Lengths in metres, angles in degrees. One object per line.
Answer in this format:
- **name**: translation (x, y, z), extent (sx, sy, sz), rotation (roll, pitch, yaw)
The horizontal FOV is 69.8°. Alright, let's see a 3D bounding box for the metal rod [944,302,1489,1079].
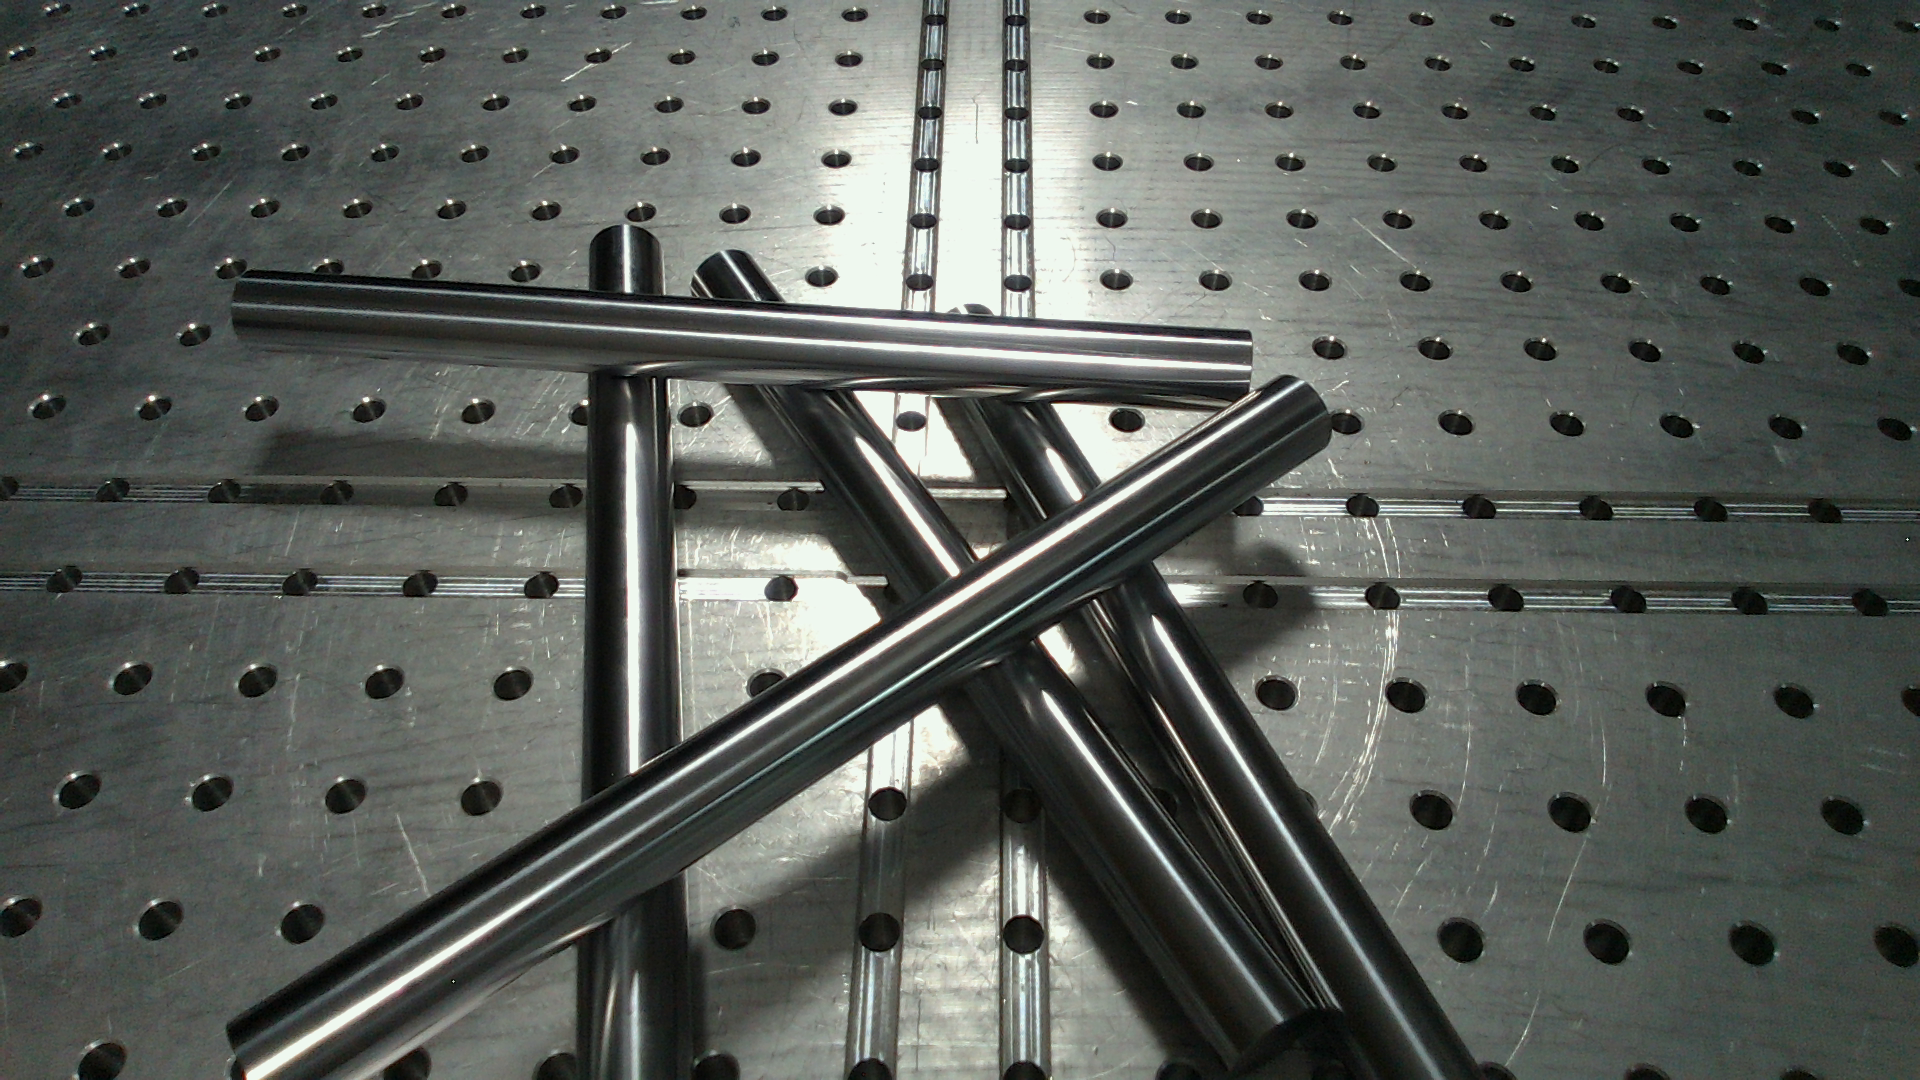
- **metal rod**: translation (0.057, 0.038, 0.362), extent (0.025, 0.025, 0.299), rotation (-18, 52, -14)

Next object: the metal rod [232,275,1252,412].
- **metal rod**: translation (-0.066, -0.059, 0.412), extent (0.300, 0.025, 0.025), rotation (4, 50, 3)

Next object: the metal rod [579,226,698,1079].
- **metal rod**: translation (-0.091, 0.014, 0.382), extent (0.025, 0.025, 0.300), rotation (-7, 50, -6)

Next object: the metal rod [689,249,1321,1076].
- **metal rod**: translation (-0.006, 0.011, 0.385), extent (0.025, 0.025, 0.299), rotation (-24, 54, -19)

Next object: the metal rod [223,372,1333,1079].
- **metal rod**: translation (-0.021, 0.035, 0.332), extent (0.301, 0.025, 0.025), rotation (-31, 56, -24)
